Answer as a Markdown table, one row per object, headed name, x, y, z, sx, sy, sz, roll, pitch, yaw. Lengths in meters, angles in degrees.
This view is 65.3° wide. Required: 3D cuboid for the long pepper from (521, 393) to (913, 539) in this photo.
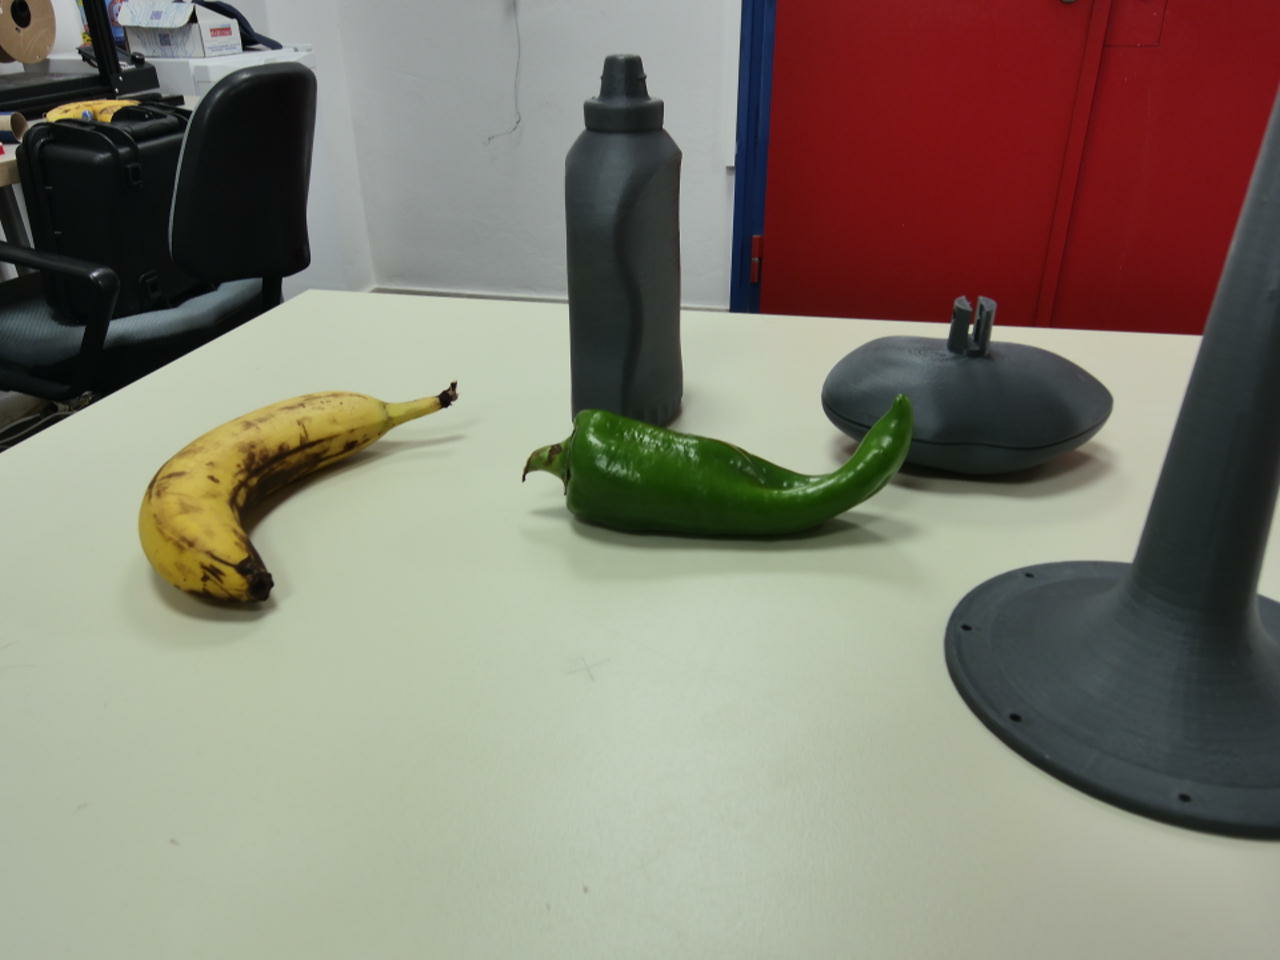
| name | x | y | z | sx | sy | sz | roll | pitch | yaw |
| --- | --- | --- | --- | --- | --- | --- | --- | --- | --- |
| long pepper | 0.031 | -0.009 | 0.447 | 0.175 | 0.065 | 0.058 | 4 | 24 | 10 |
